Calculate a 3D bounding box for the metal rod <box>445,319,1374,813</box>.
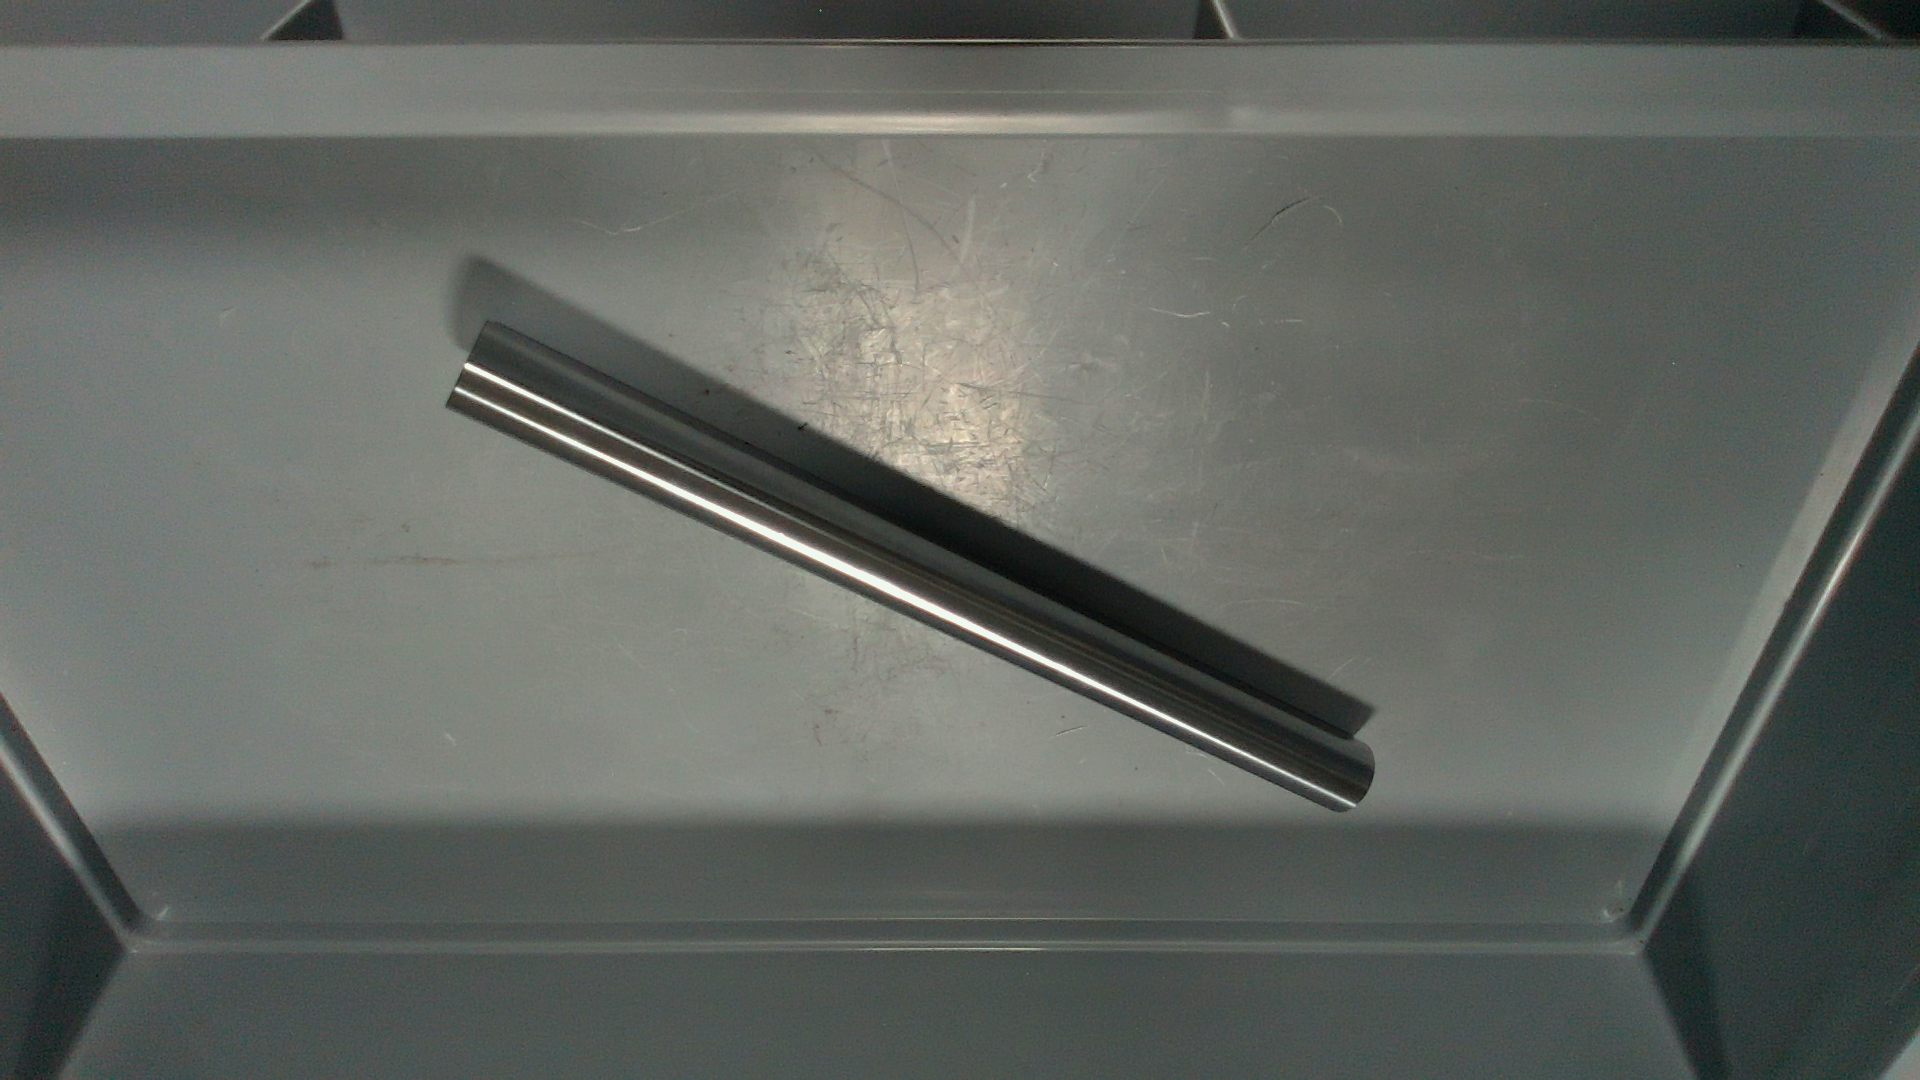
[{"bbox_3d":[0.001,0.017,0.402,0.301,0.025,0.025,26,125,-21],"label":"metal rod"}]
